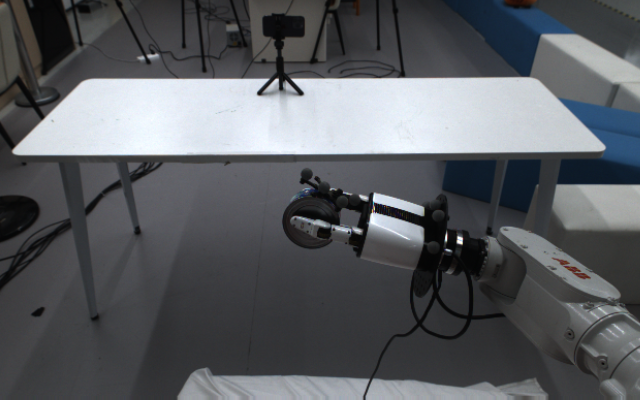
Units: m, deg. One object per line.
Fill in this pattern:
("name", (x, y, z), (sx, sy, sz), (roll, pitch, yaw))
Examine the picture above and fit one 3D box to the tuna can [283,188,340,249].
("tuna can", (-0.011, 0.029, 0.726), (0.085, 0.085, 0.034), (4, 20, 3))
